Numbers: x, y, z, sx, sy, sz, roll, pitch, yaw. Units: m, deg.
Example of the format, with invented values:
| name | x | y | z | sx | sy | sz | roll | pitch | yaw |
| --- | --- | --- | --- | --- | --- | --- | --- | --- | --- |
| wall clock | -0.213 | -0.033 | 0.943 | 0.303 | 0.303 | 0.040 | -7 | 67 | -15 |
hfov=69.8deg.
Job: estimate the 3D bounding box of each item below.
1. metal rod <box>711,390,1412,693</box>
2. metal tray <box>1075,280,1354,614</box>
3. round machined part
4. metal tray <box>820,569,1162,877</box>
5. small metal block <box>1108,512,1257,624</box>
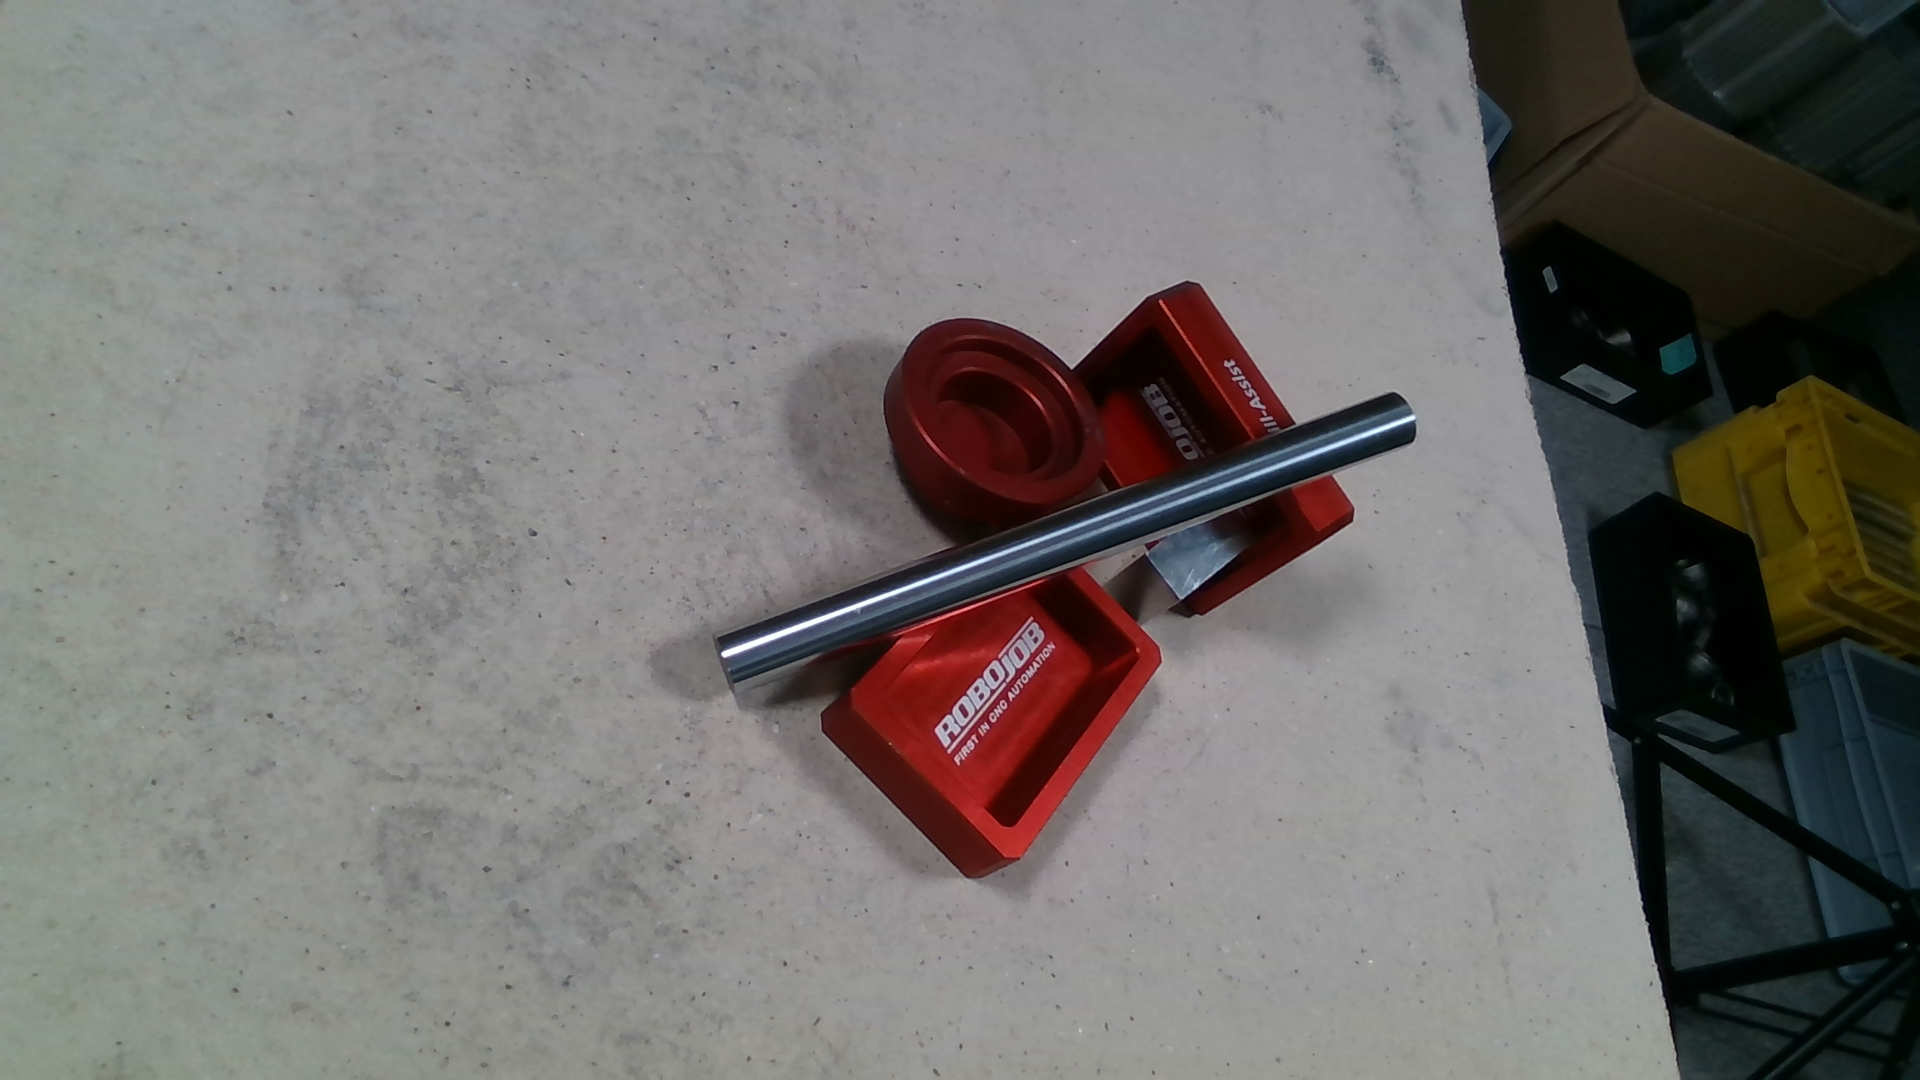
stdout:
| name | x | y | z | sx | sy | sz | roll | pitch | yaw |
| --- | --- | --- | --- | --- | --- | --- | --- | --- | --- |
| metal rod | 0.048 | -0.003 | 0.549 | 0.300 | 0.025 | 0.025 | -20 | 76 | -15 |
| metal tray | 0.108 | -0.041 | 0.631 | 0.030 | 0.090 | 0.130 | -28 | 81 | -38 |
| round machined part | 0.011 | -0.047 | 0.602 | 0.098 | 0.042 | 0.098 | 15 | 52 | -20 |
| metal tray | 0.016 | 0.060 | 0.561 | 0.090 | 0.030 | 0.130 | 46 | 51 | -2 |
| small metal block | 0.097 | 0.010 | 0.618 | 0.050 | 0.050 | 0.025 | -36 | 84 | -25 |
